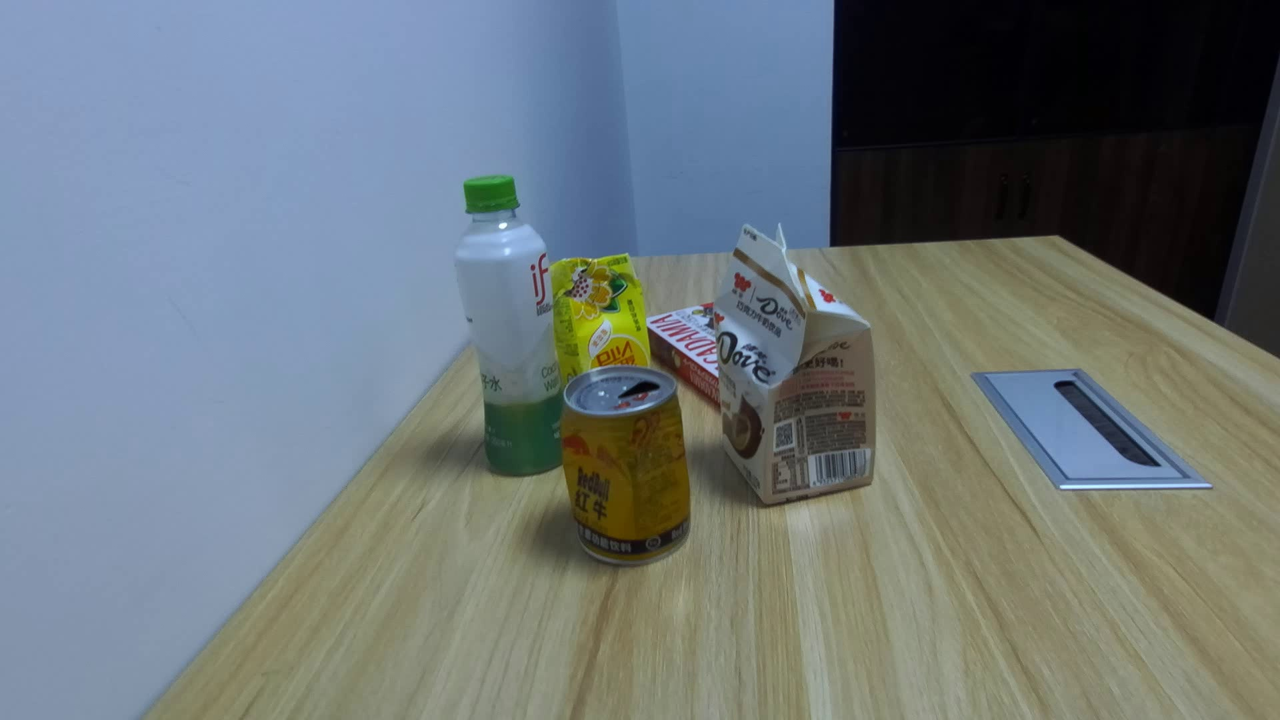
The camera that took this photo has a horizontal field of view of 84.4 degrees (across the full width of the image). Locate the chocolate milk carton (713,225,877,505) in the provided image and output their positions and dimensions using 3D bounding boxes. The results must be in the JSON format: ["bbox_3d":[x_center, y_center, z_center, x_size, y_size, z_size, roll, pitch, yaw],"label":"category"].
[{"bbox_3d":[0.090,-0.002,0.418,0.074,0.156,0.076,-11,25,-9],"label":"chocolate milk carton"}]

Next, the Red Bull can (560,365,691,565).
[{"bbox_3d":[-0.006,0.055,0.386,0.072,0.092,0.072,-4,23,2],"label":"Red Bull can"}]

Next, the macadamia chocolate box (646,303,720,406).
[{"bbox_3d":[0.079,-0.006,0.632,0.096,0.027,0.177,-13,27,-20],"label":"macadamia chocolate box"}]

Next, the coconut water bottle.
[{"bbox_3d":[-0.082,-0.021,0.459,0.063,0.189,0.063,-5,22,2],"label":"coconut water bottle"}]

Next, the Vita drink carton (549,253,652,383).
[{"bbox_3d":[-0.036,-0.032,0.581,0.087,0.108,0.042,-15,11,-29],"label":"Vita drink carton"}]
